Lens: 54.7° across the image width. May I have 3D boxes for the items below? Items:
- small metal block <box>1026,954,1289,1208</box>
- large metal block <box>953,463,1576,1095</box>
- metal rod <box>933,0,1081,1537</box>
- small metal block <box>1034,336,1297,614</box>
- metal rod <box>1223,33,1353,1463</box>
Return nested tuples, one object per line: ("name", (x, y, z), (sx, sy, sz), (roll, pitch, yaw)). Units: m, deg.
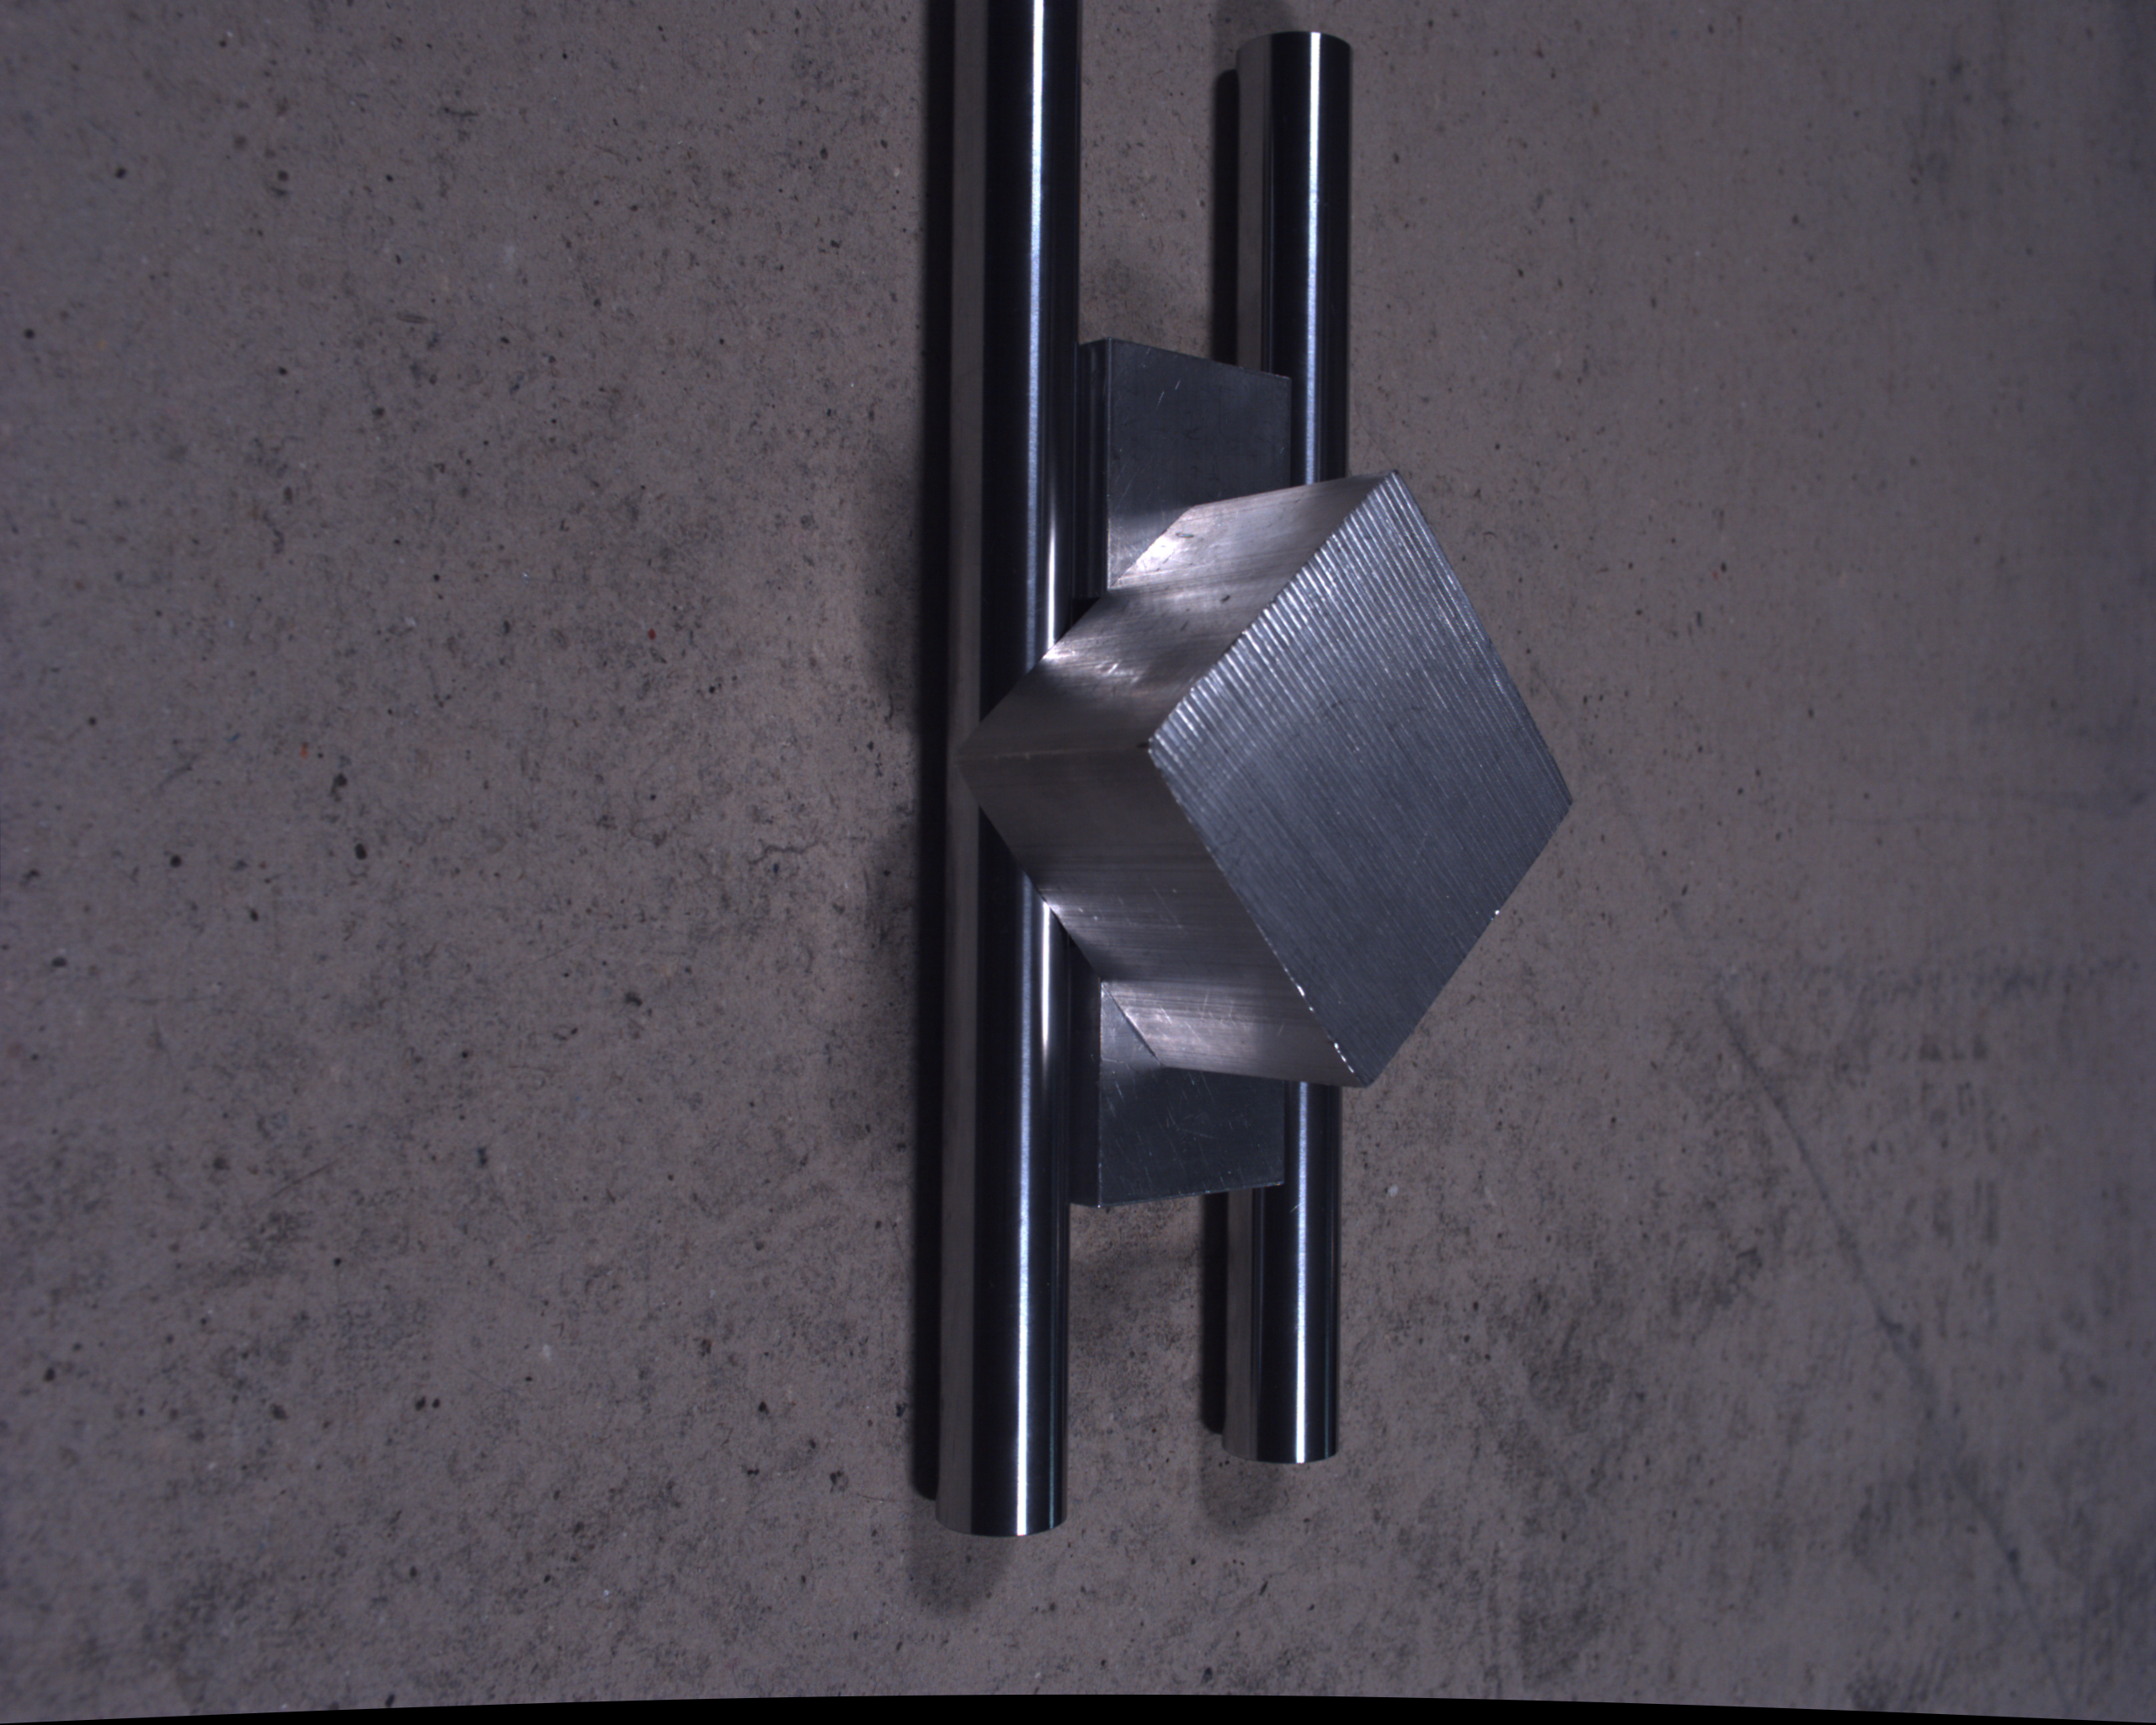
("small metal block", (0.016, 0.041, 0.420), (0.050, 0.025, 0.050), (1, 90, -40))
("large metal block", (0.037, -0.015, 0.388), (0.080, 0.050, 0.080), (-49, 119, -29))
("metal rod", (-0.013, -0.025, 0.397), (0.025, 0.025, 0.298), (1, 90, -40))
("small metal block", (0.017, -0.075, 0.421), (0.050, 0.025, 0.050), (1, 90, -40))
("metal rod", (0.045, -0.024, 0.447), (0.025, 0.025, 0.298), (1, 90, -40))
